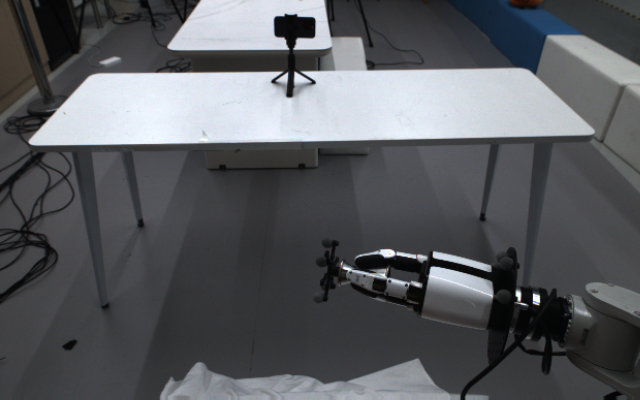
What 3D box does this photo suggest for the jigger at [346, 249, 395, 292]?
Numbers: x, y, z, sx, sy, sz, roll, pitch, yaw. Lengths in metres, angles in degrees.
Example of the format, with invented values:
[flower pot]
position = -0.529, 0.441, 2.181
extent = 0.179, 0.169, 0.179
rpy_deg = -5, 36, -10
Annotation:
[jigger]
position = 0.070, 0.105, 0.688
extent = 0.071, 0.043, 0.043
rpy_deg = 7, 35, 15
